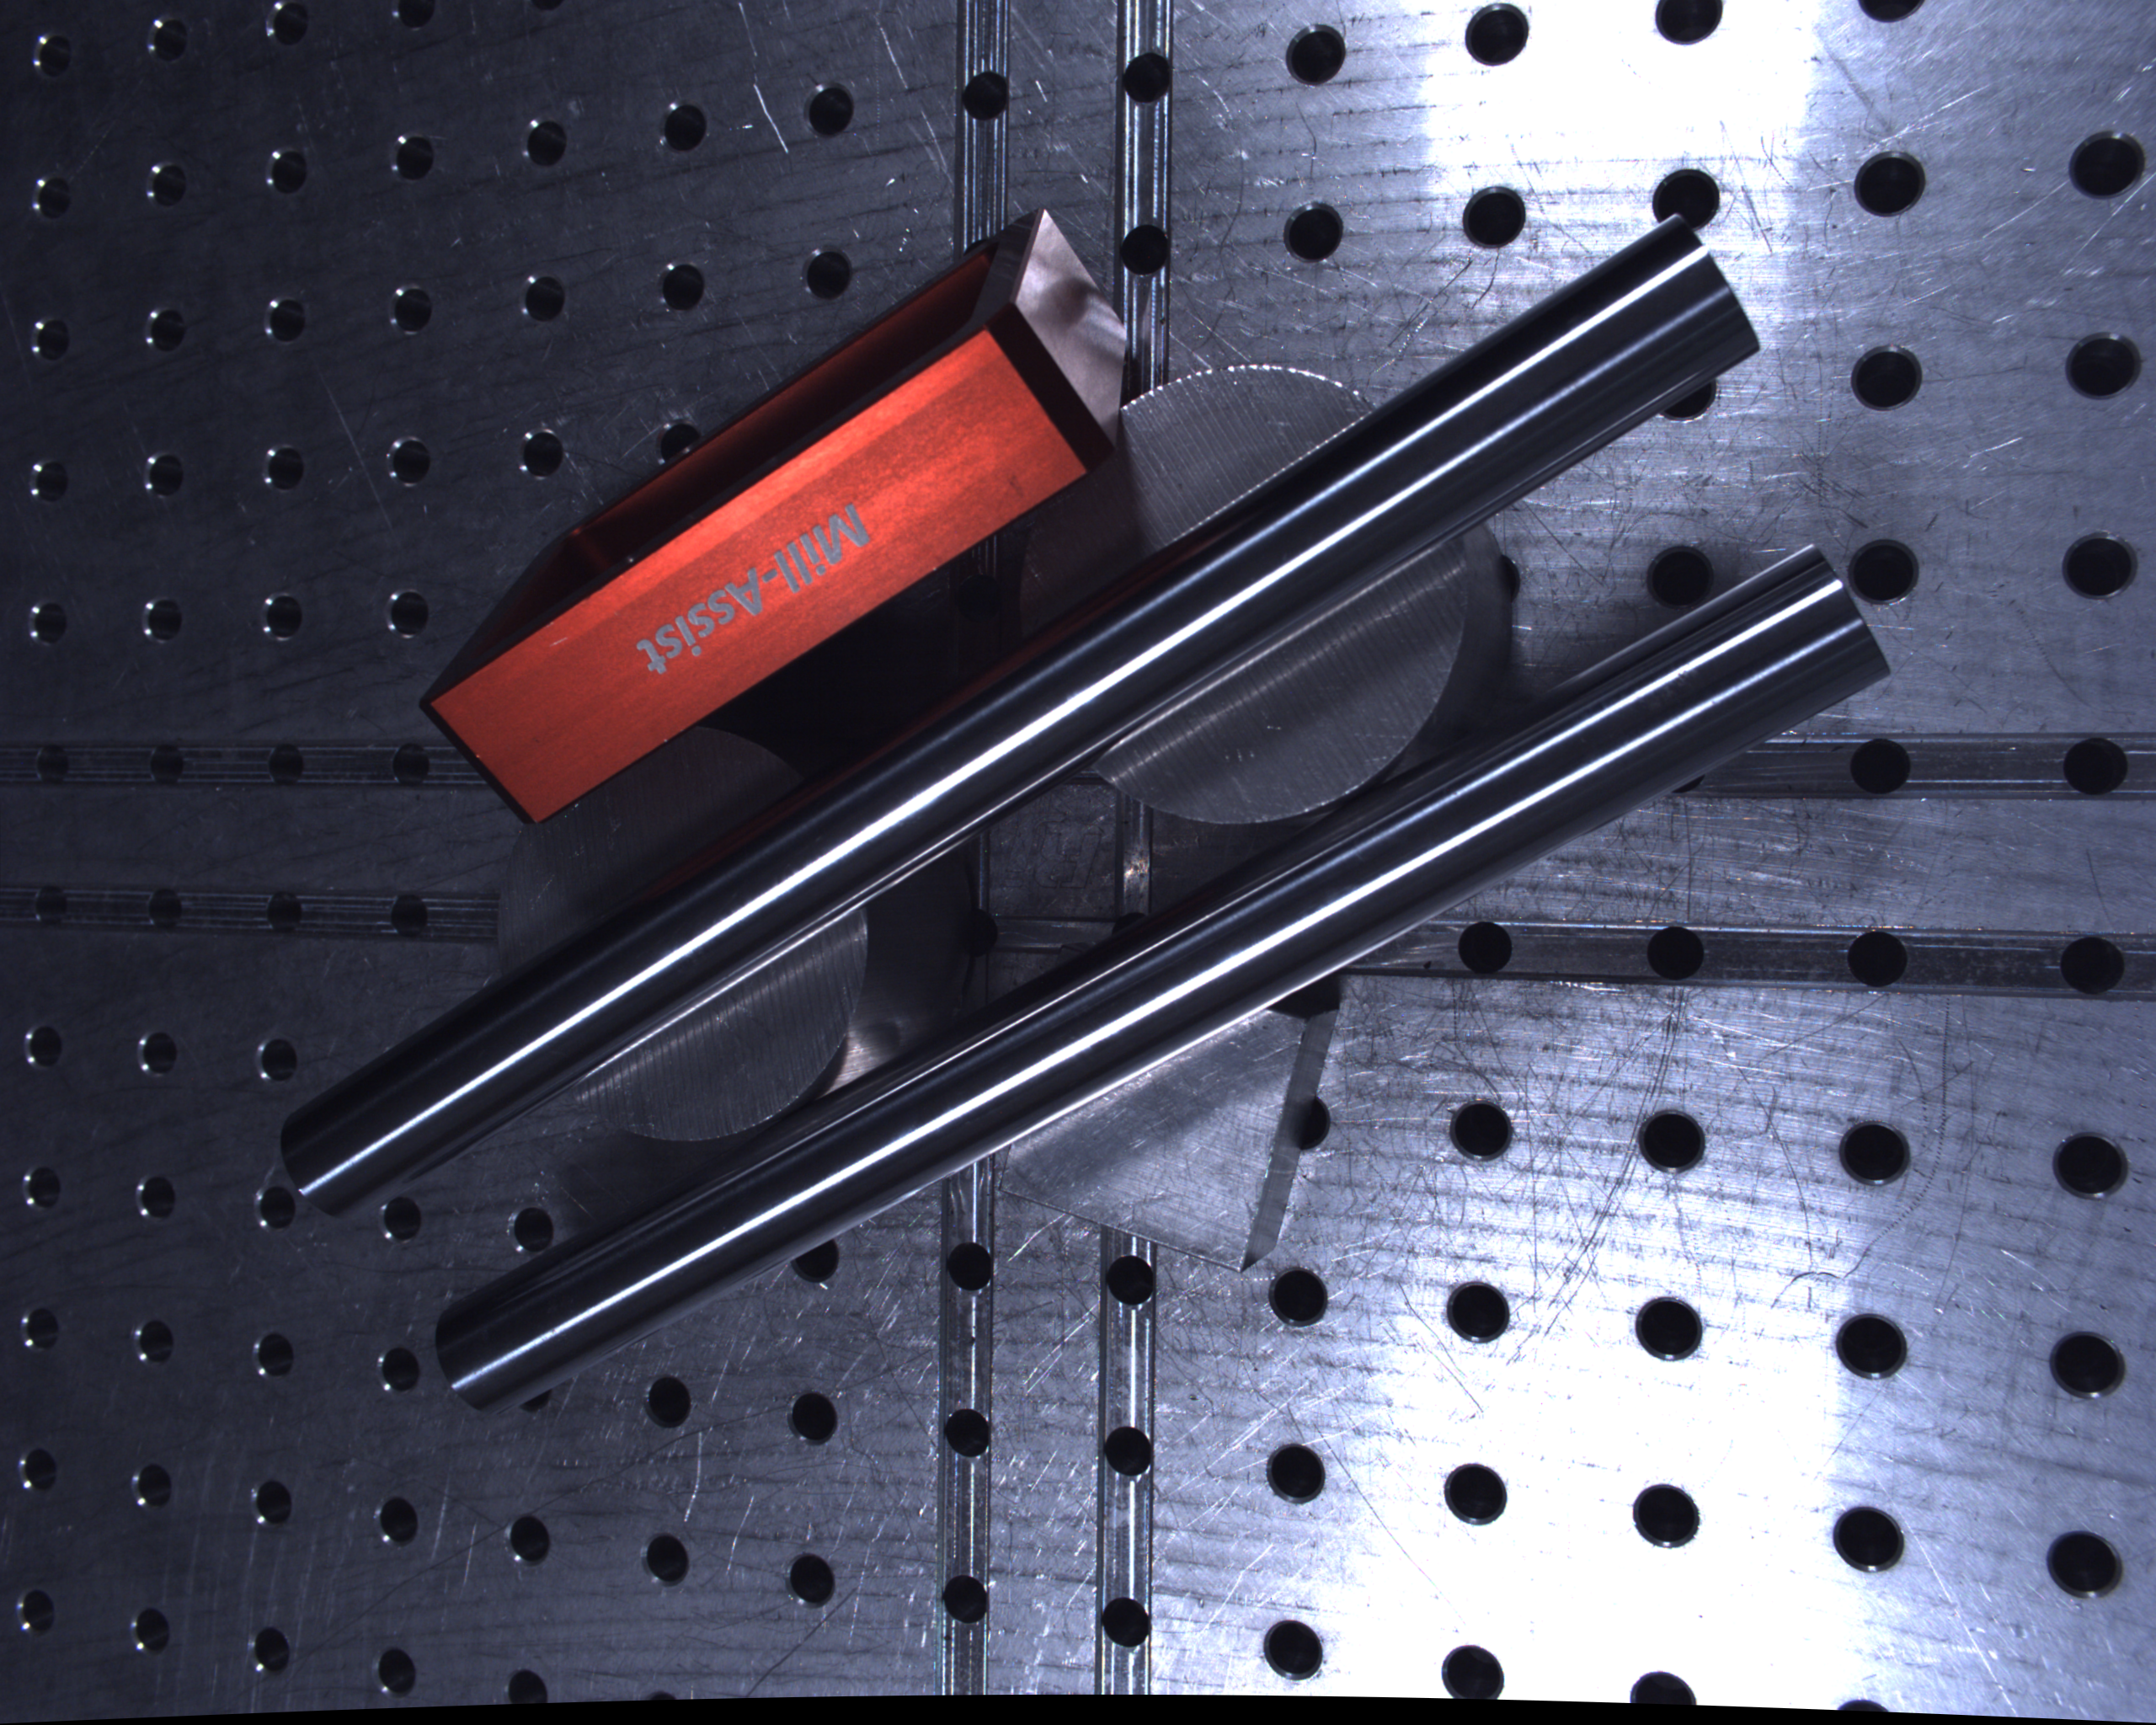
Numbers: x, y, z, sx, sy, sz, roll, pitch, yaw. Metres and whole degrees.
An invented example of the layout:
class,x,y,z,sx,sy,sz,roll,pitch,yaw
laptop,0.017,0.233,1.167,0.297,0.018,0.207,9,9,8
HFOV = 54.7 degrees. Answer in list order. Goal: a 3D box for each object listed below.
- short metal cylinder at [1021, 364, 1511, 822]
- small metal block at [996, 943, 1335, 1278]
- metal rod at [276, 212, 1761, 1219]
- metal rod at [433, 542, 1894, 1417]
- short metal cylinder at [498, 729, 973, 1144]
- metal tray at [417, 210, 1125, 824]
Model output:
class,x,y,z,sx,sy,sz,roll,pitch,yaw
short metal cylinder,0.036,-0.047,0.386,0.080,0.050,0.079,0,90,19
small metal block,0.017,0.047,0.405,0.050,0.025,0.050,16,95,19
metal rod,-0.024,-0.016,0.366,0.300,0.025,0.025,-31,80,17
metal rod,0.002,0.030,0.383,0.300,0.025,0.025,-30,81,17
short metal cylinder,-0.068,0.014,0.422,0.080,0.050,0.079,0,90,19
metal tray,-0.054,-0.067,0.395,0.130,0.090,0.030,-30,112,17
